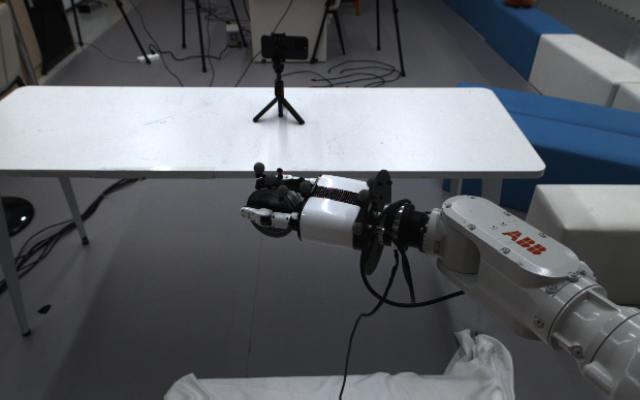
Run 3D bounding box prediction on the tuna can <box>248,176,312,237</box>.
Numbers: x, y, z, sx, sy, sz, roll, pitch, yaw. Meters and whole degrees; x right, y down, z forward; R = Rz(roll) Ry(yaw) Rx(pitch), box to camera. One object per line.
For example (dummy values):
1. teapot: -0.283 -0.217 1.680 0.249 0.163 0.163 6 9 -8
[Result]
1. tuna can: -0.069 0.014 0.766 0.085 0.085 0.034 16 29 19
